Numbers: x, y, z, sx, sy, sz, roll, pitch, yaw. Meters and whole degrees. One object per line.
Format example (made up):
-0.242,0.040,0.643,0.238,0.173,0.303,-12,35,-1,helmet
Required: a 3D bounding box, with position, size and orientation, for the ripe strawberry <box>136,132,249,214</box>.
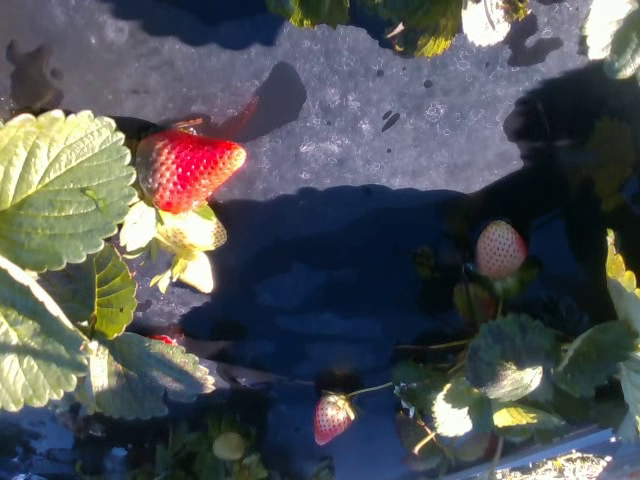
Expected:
-0.061,-0.038,0.300,0.064,0.052,0.049,-17,-15,24,ripe strawberry
